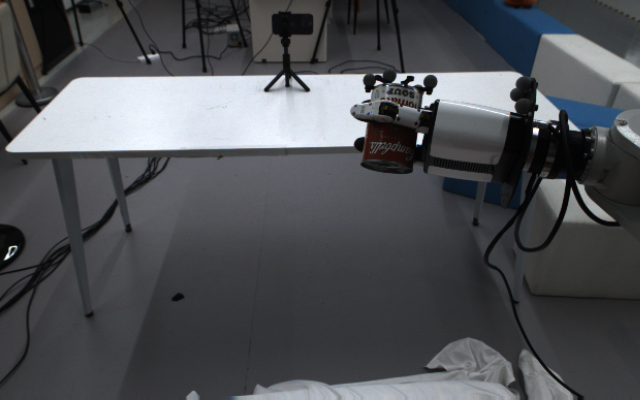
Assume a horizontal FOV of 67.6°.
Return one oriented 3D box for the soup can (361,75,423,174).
[{"bbox_3d":[0.094,-0.090,0.622,0.067,0.101,0.067,9,-6,1],"label":"soup can"}]
